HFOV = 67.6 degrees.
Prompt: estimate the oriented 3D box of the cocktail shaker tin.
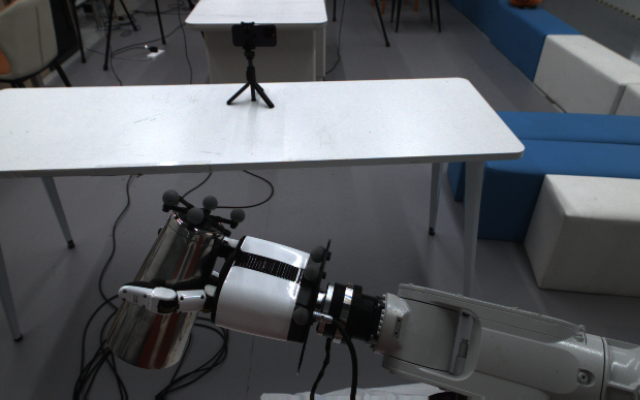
[{"bbox_3d":[-0.171,0.097,0.564,0.093,0.170,0.093,24,12,-6],"label":"cocktail shaker tin"}]
